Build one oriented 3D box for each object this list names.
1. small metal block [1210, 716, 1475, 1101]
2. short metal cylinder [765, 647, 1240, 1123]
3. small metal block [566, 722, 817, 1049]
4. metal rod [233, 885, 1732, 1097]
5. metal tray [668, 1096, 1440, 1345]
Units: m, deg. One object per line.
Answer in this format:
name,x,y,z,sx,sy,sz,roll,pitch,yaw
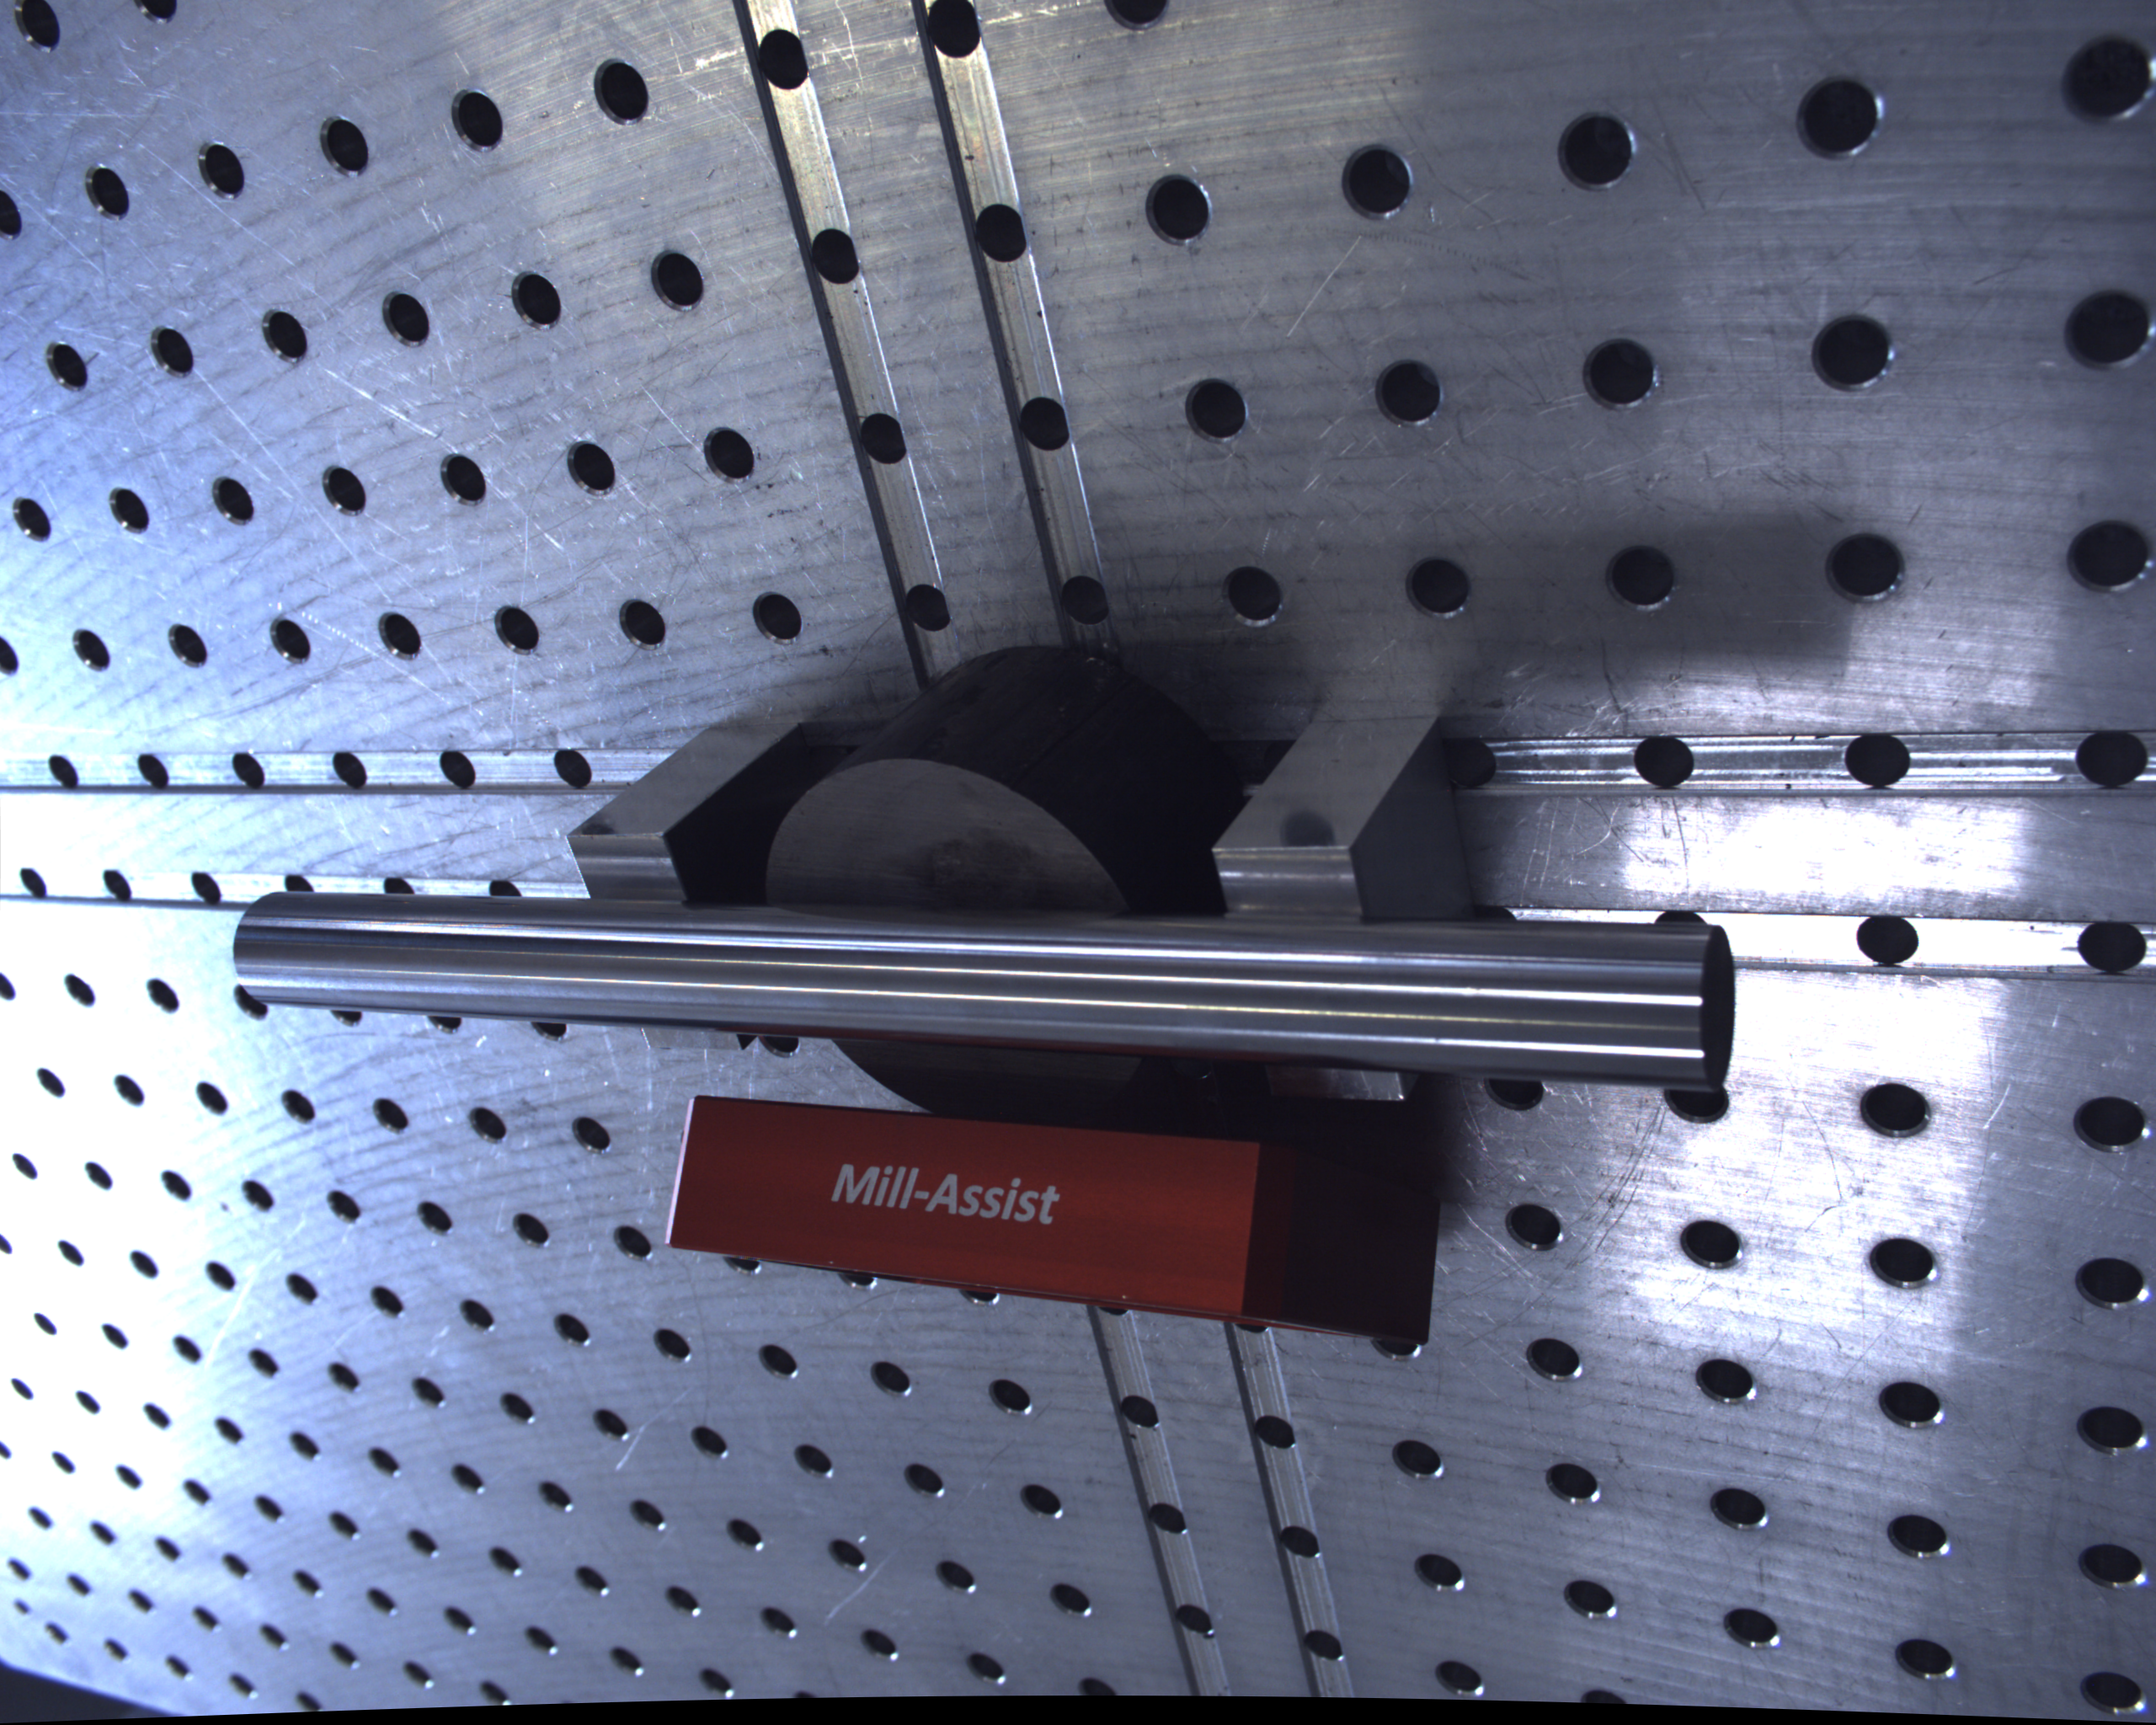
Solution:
small metal block,0.050,0.007,0.374,0.025,0.050,0.050,-1,118,29
short metal cylinder,-0.013,0.005,0.405,0.080,0.050,0.079,13,124,21
small metal block,-0.074,0.004,0.437,0.025,0.050,0.050,-1,118,29
metal rod,-0.039,0.020,0.379,0.300,0.025,0.025,1,119,28
metal tray,-0.004,0.072,0.419,0.130,0.090,0.030,1,76,28
